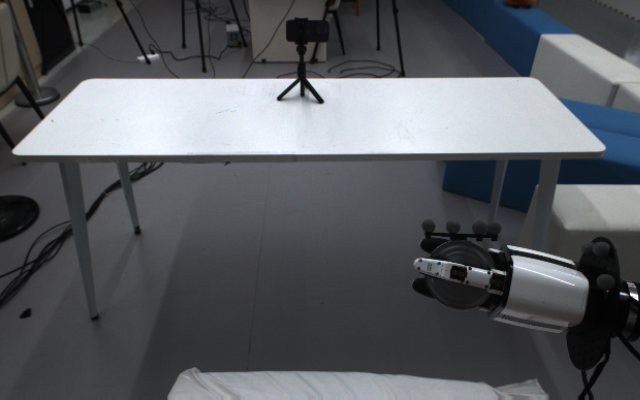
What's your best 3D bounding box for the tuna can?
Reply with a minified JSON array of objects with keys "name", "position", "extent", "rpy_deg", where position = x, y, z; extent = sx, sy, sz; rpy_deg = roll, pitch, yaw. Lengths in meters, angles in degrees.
[{"name":"tuna can","position":[0.180,0.090,0.609],"extent":[0.085,0.085,0.034],"rpy_deg":[13,-1,16]}]
